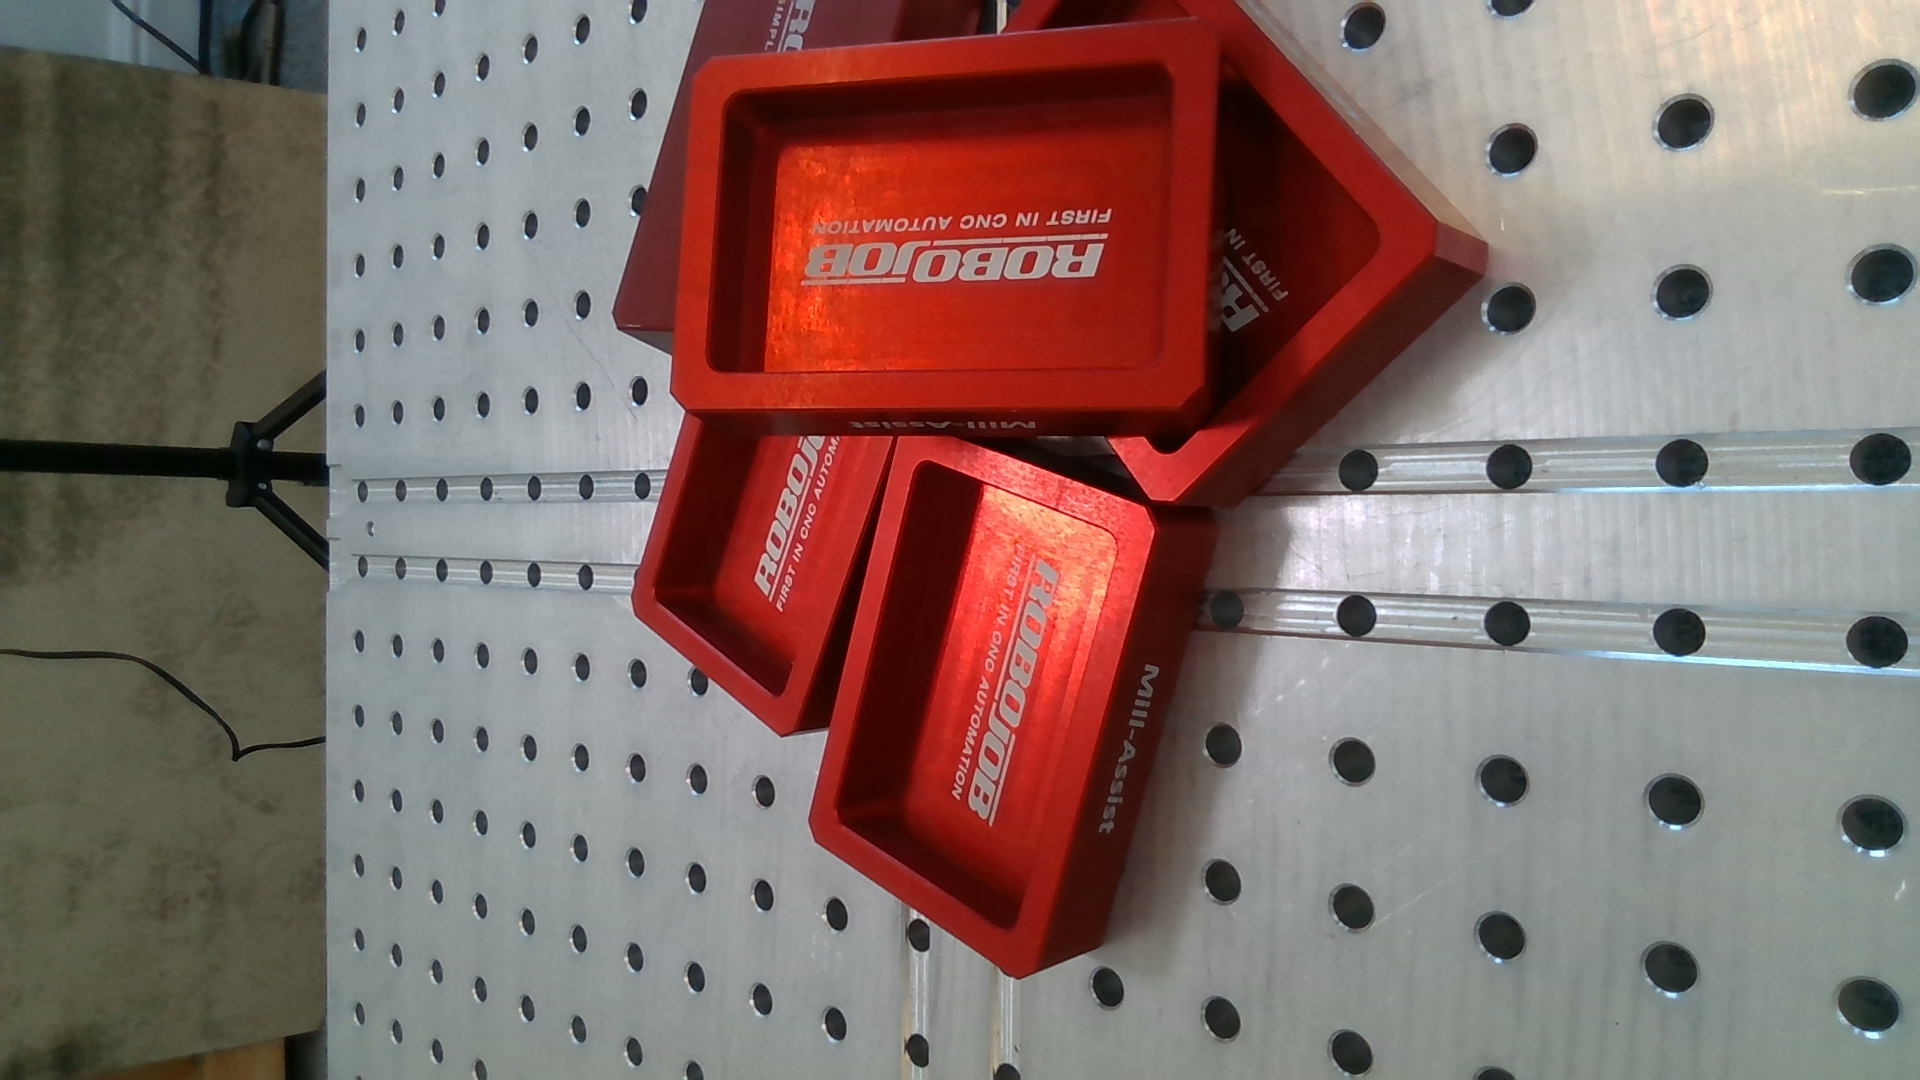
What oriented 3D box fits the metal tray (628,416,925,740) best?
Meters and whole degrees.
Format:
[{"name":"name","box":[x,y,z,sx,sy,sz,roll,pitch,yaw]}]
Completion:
[{"name":"metal tray","box":[-0.053,-0.015,0.433,0.090,0.030,0.130,32,110,36]}]

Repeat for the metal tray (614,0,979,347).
[{"name":"metal tray","box":[-0.048,-0.117,0.408,0.090,0.030,0.130,9,82,40]}]

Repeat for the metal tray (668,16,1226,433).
[{"name":"metal tray","box":[-0.003,-0.073,0.336,0.130,0.030,0.090,1,83,16]}]

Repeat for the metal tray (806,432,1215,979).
[{"name":"metal tray","box":[0.010,0.040,0.381,0.090,0.030,0.130,23,105,38]}]

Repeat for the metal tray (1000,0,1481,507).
[{"name":"metal tray","box":[0.052,-0.084,0.344,0.090,0.030,0.130,-47,62,29]}]
